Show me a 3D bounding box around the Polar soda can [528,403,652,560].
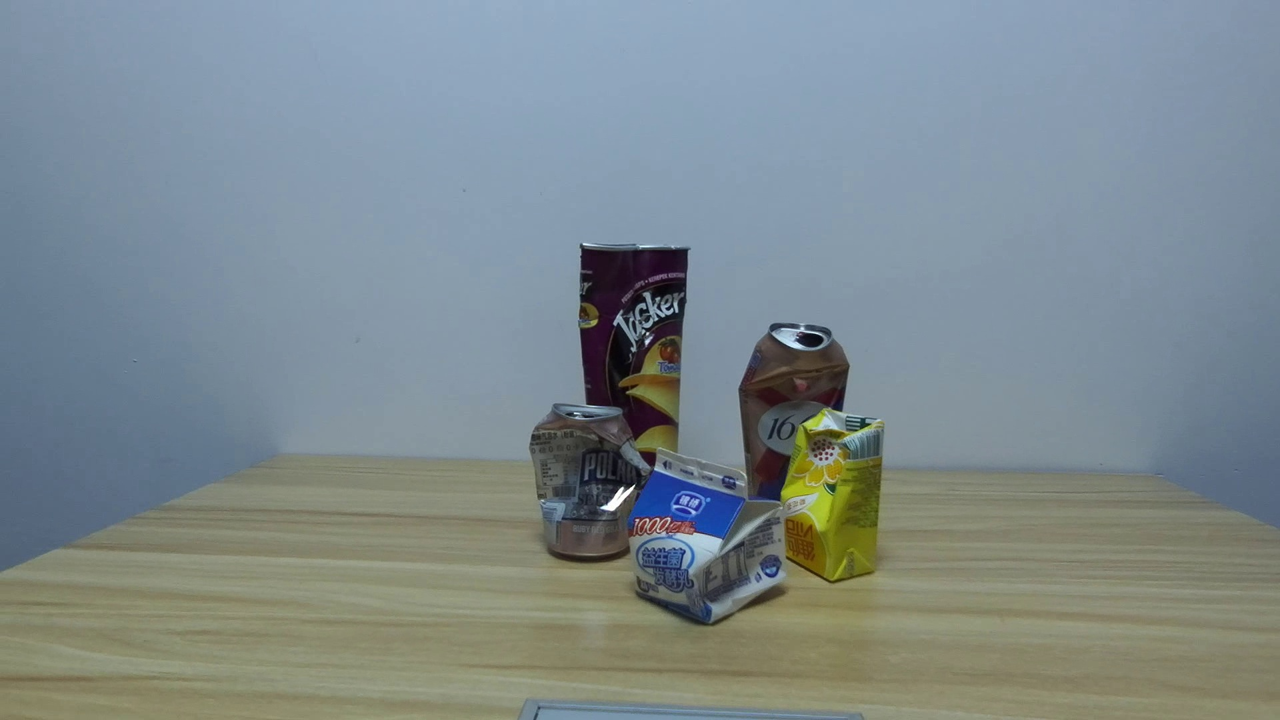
[{"bbox_3d":[-0.037,0.089,0.531,0.074,0.114,0.070,-10,18,-34],"label":"Polar soda can"}]

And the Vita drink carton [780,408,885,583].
[{"bbox_3d":[0.134,0.093,0.506,0.047,0.109,0.071,-1,6,-27],"label":"Vita drink carton"}]

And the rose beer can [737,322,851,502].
[{"bbox_3d":[0.129,0.054,0.598,0.069,0.168,0.069,11,13,42],"label":"rose beer can"}]

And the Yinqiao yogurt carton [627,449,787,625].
[{"bbox_3d":[0.040,0.107,0.447,0.074,0.097,0.080,6,17,42],"label":"Yinqiao yogurt carton"}]

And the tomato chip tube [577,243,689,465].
[{"bbox_3d":[-0.005,0.018,0.616,0.090,0.235,0.078,3,9,4],"label":"tomato chip tube"}]
